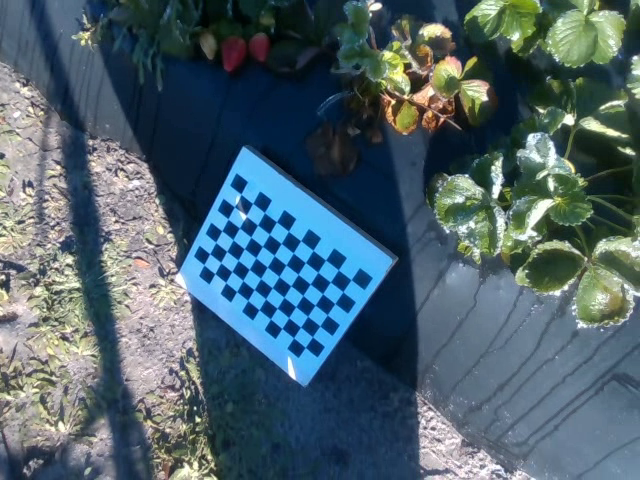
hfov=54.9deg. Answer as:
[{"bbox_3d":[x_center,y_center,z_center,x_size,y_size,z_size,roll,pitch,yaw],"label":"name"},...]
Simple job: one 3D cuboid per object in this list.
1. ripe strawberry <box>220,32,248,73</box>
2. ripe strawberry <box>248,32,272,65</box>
[{"bbox_3d":[-0.120,-0.248,0.835,0.036,0.052,0.040,-1,-24,24],"label":"ripe strawberry"},{"bbox_3d":[-0.082,-0.260,0.834,0.036,0.041,0.030,-28,-4,28],"label":"ripe strawberry"}]
